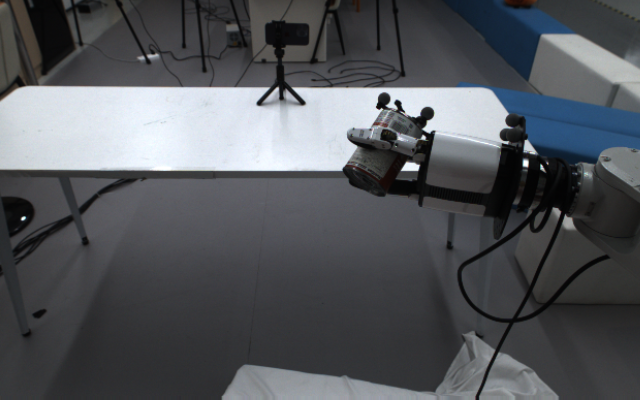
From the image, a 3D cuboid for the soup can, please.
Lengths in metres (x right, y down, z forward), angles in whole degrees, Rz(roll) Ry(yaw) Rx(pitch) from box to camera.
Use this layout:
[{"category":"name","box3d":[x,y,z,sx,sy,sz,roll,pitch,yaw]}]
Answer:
[{"category":"soup can","box3d":[0.086,-0.066,0.657,0.067,0.067,0.101,27,78,32]}]
